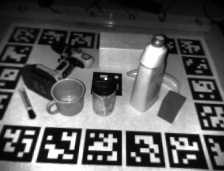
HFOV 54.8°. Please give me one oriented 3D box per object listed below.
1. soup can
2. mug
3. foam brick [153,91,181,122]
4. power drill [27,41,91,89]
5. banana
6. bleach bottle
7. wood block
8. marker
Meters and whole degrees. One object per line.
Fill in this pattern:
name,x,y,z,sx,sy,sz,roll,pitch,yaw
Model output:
soup can,-0.040,0.021,0.628,0.068,0.102,0.067,4,46,-3
mug,-0.149,0.027,0.631,0.118,0.082,0.092,-37,64,-27
foam brick,0.161,0.060,0.642,0.052,0.078,0.052,30,52,22
power drill,-0.191,-0.076,0.737,0.183,0.057,0.188,29,52,14
banana,0.123,-0.047,0.748,0.197,0.039,0.074,17,64,6
bleach bottle,0.090,-0.038,0.601,0.067,0.252,0.103,27,52,18
wood block,0.048,-0.134,0.785,0.206,0.091,0.089,3,51,-3
marker,-0.267,0.043,0.651,0.020,0.020,0.120,-21,56,-18
